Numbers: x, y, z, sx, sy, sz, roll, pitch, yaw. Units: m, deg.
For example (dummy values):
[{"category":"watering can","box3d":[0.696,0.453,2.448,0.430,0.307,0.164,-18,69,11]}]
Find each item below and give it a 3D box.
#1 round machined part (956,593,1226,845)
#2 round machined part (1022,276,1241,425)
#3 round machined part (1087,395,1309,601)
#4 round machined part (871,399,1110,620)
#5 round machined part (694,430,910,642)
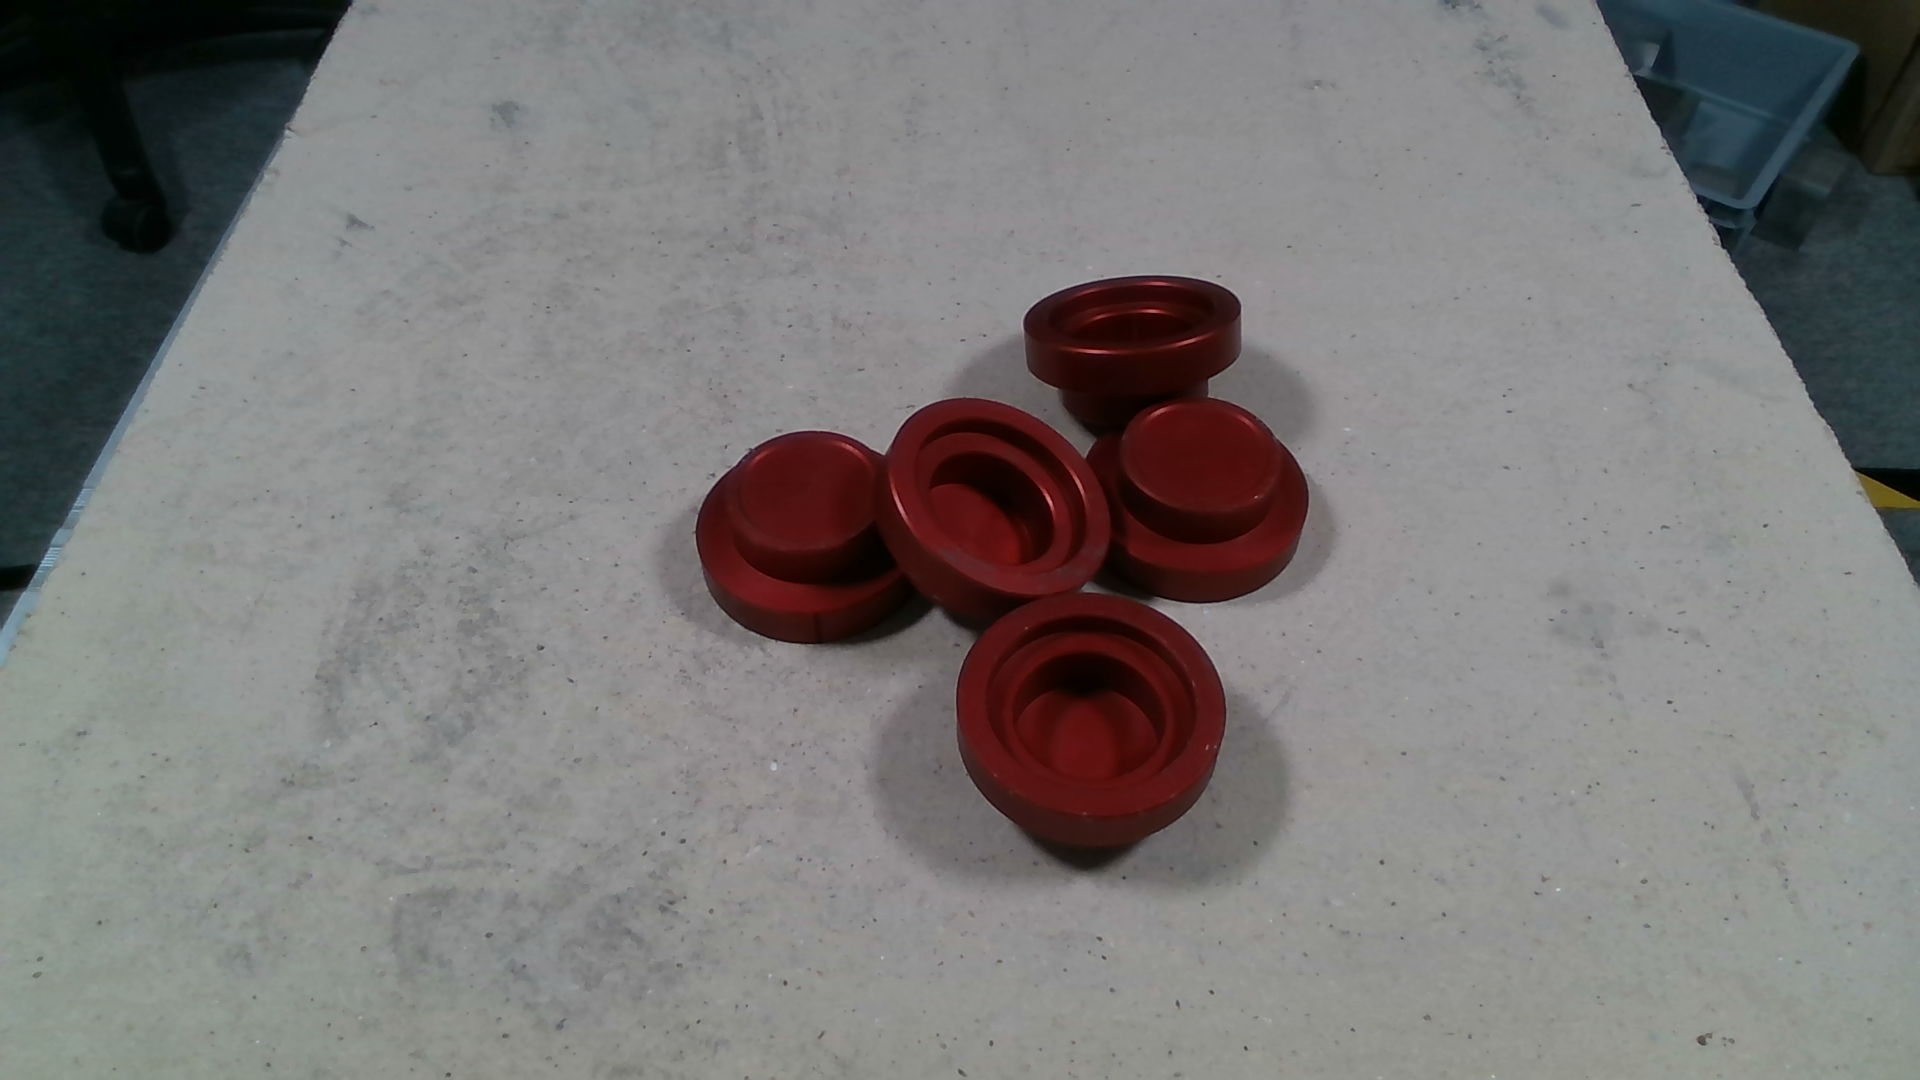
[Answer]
[{"category":"round machined part","box3d":[0.048,0.071,0.517,0.098,0.042,0.098,0,50,0]},{"category":"round machined part","box3d":[0.079,-0.086,0.634,0.098,0.042,0.098,-6,29,3]},{"category":"round machined part","box3d":[0.102,-0.025,0.596,0.098,0.042,0.098,0,50,0]},{"category":"round machined part","box3d":[0.009,-0.007,0.568,0.098,0.042,0.098,15,50,-18]},{"category":"round machined part","box3d":[-0.063,-0.008,0.582,0.098,0.042,0.098,0,50,0]}]
